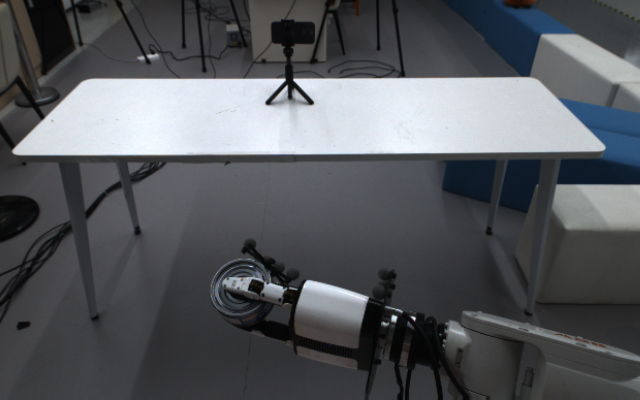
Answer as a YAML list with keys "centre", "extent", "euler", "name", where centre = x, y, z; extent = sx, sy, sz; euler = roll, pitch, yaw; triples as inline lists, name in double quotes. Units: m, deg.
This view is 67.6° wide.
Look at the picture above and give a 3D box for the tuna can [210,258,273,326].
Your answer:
- centre: [-0.100, 0.122, 0.648]
  extent: [0.085, 0.034, 0.085]
  euler: [-4, 57, 6]
  name: "tuna can"
